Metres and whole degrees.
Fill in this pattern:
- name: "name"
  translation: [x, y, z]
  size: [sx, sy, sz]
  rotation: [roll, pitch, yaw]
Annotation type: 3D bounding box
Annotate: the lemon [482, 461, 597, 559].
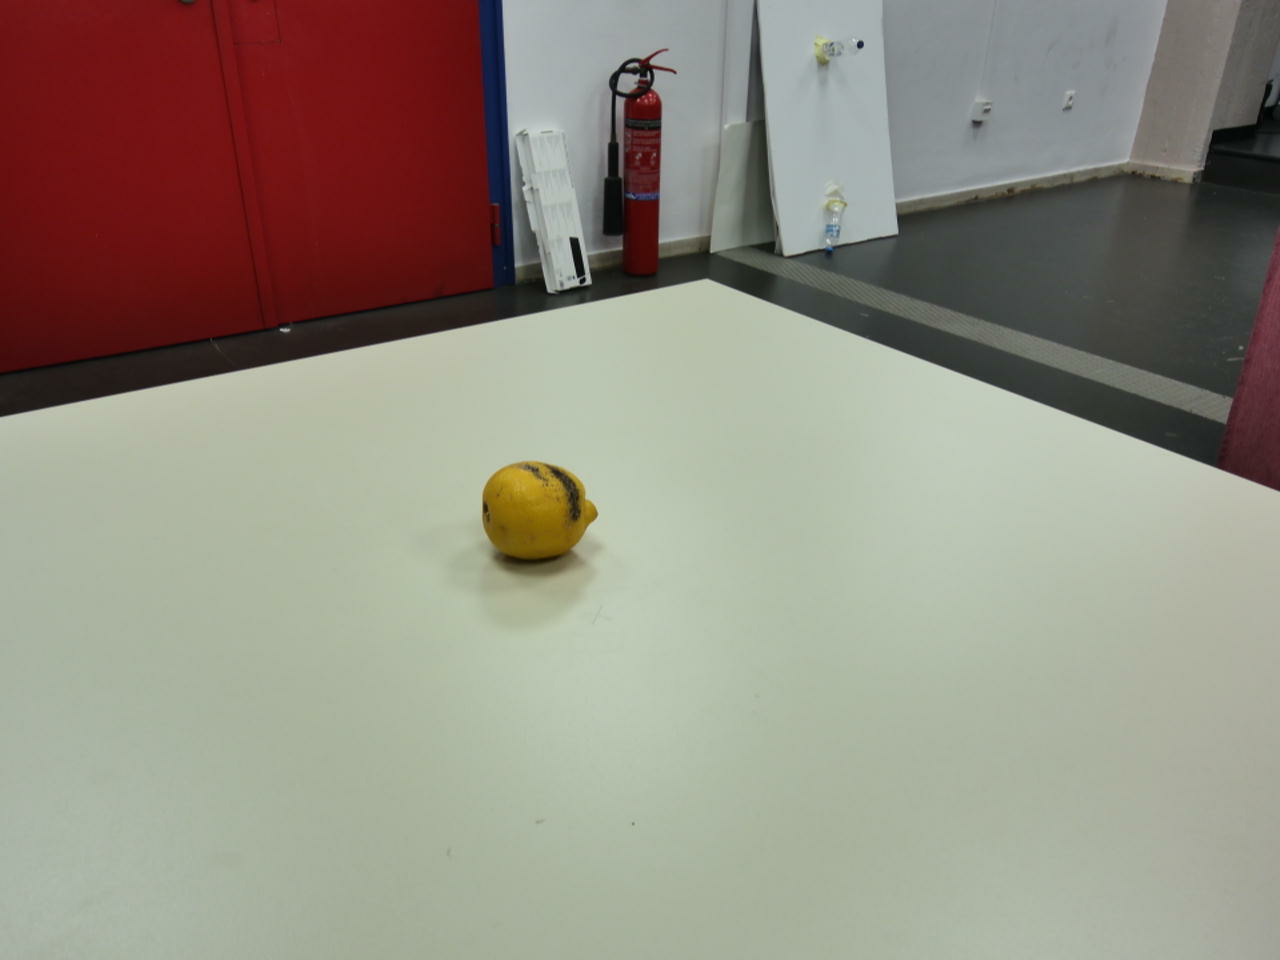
- name: "lemon"
  translation: [-0.061, 0.017, 0.573]
  size: [0.061, 0.056, 0.058]
  rotation: [-22, 34, -39]
